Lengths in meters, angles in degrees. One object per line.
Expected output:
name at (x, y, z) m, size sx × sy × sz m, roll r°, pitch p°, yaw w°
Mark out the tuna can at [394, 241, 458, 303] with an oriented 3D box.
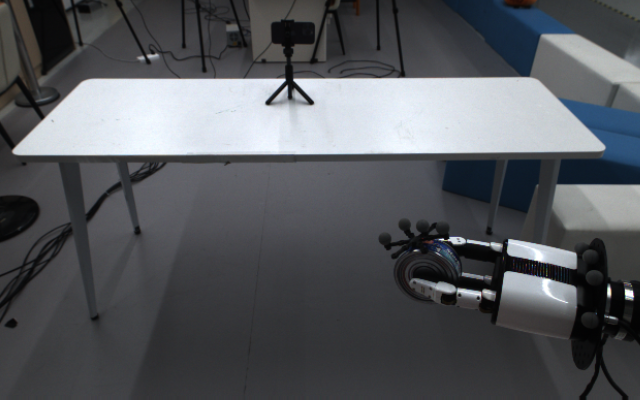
tuna can at (0.145, 0.093, 0.643) m, size 0.085 × 0.085 × 0.034 m, roll 15°, pitch 30°, yaw 17°
